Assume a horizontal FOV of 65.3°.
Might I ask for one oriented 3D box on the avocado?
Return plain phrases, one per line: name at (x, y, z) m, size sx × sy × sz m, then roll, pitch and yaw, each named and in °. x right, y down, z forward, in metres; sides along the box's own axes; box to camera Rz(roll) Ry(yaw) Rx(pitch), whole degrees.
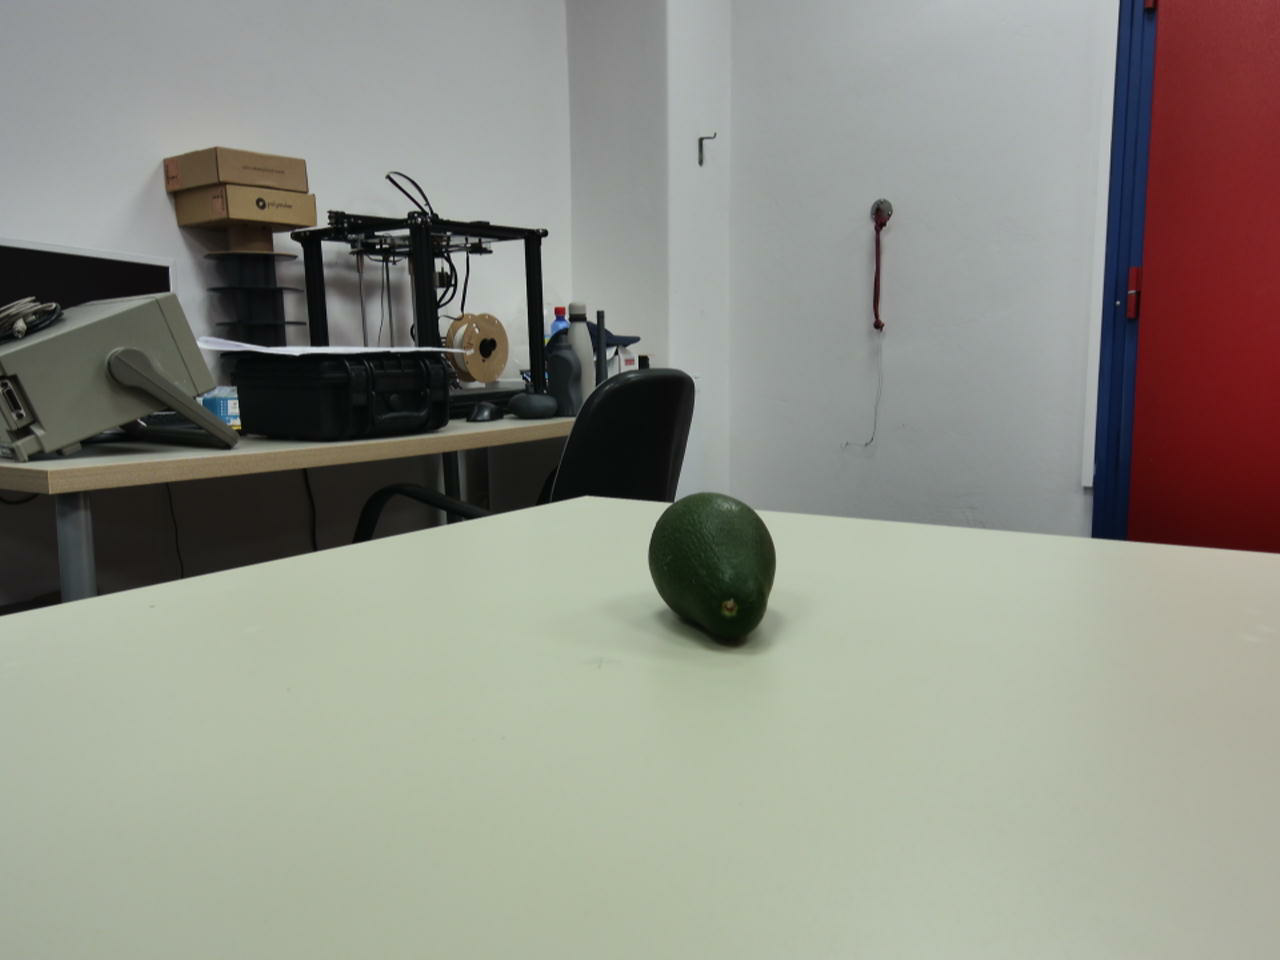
avocado at (0.037, 0.044, 0.545) m, size 0.073 × 0.071 × 0.109 m, roll 2°, pitch 6°, yaw 13°
